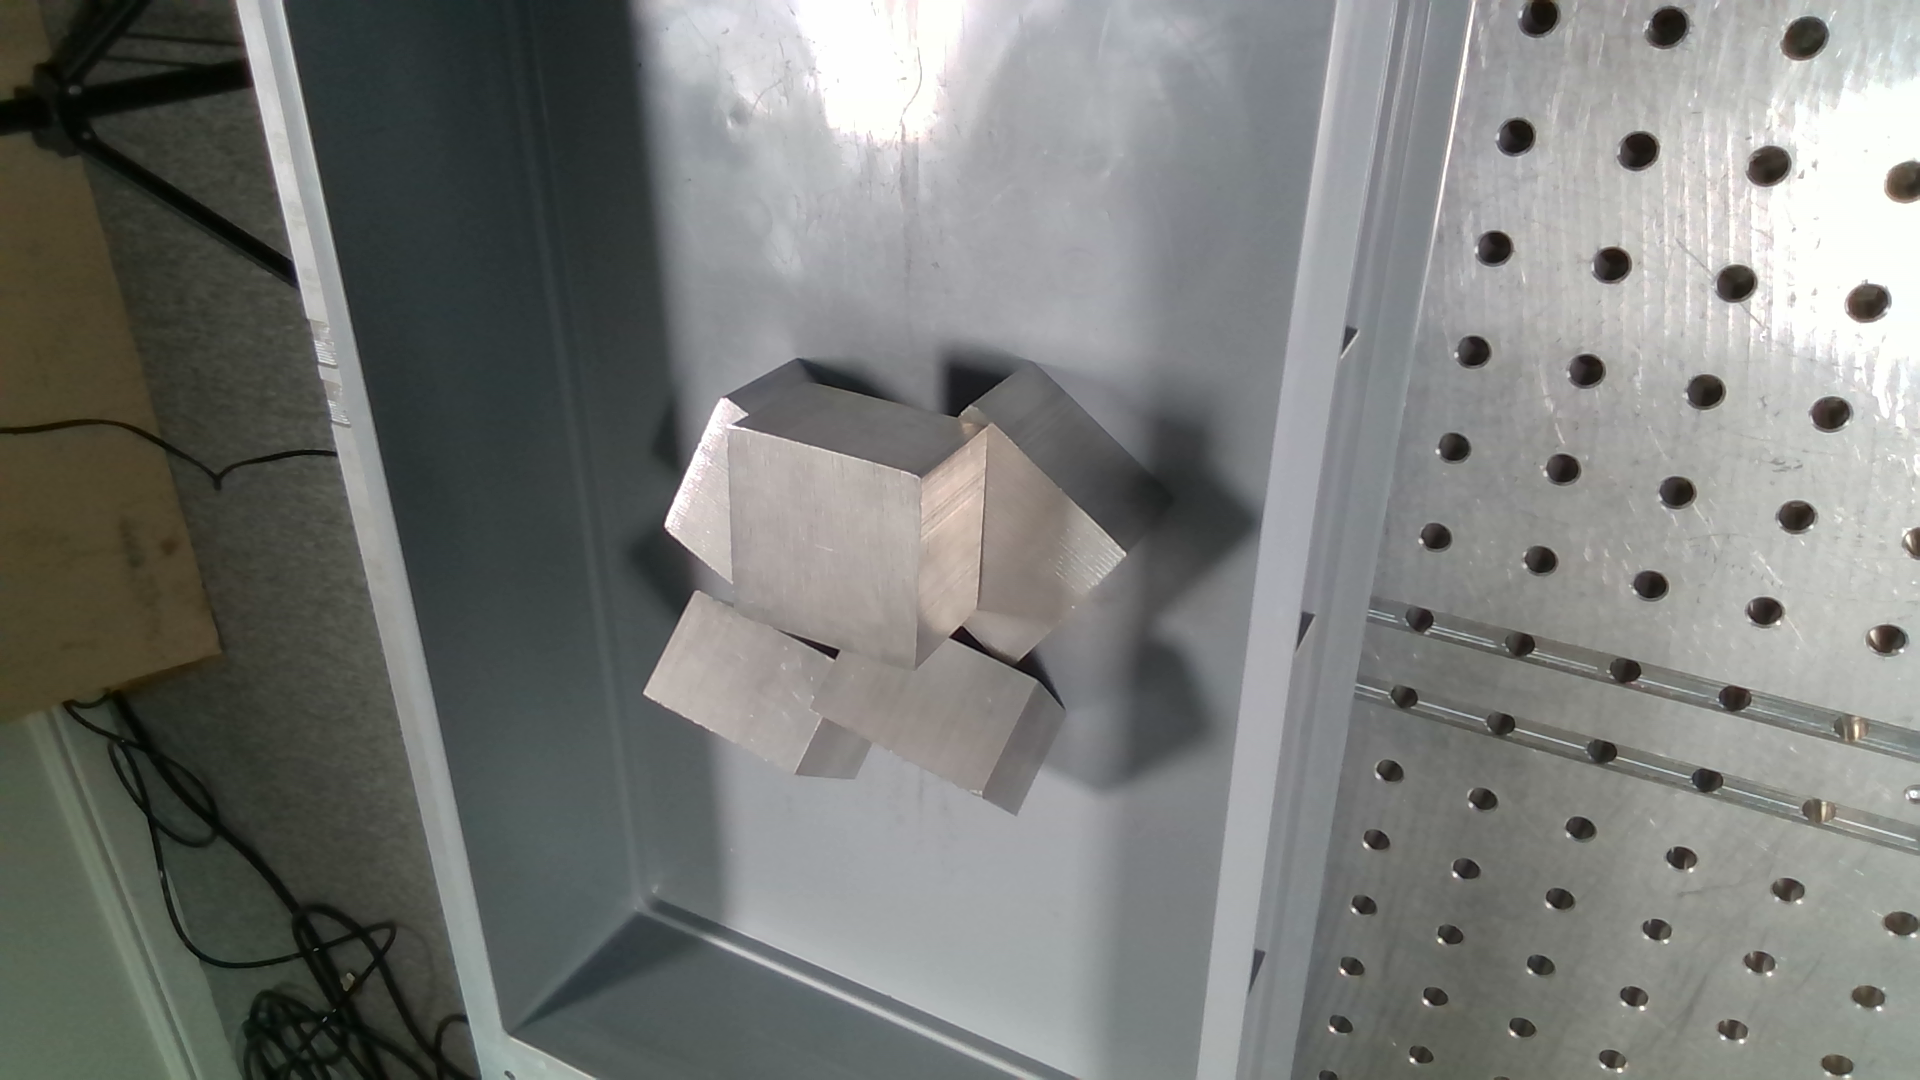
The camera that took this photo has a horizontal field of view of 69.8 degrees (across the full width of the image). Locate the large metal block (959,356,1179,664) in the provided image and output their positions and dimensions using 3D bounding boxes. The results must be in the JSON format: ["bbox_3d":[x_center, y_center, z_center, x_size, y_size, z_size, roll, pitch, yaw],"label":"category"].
[{"bbox_3d":[0.024,-0.010,0.543,0.080,0.050,0.080,44,129,3],"label":"large metal block"}]

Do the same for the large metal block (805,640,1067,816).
[{"bbox_3d":[-0.007,0.072,0.579,0.080,0.050,0.080,24,170,18],"label":"large metal block"}]

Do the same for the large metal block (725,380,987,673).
[{"bbox_3d":[-0.039,-0.007,0.516,0.080,0.050,0.080,16,121,22],"label":"large metal block"}]

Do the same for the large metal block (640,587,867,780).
[{"bbox_3d":[-0.082,0.066,0.621,0.080,0.080,0.050,25,86,18],"label":"large metal block"}]

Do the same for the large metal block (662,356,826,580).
[{"bbox_3d":[-0.071,-0.018,0.592,0.080,0.050,0.080,39,129,7],"label":"large metal block"}]
